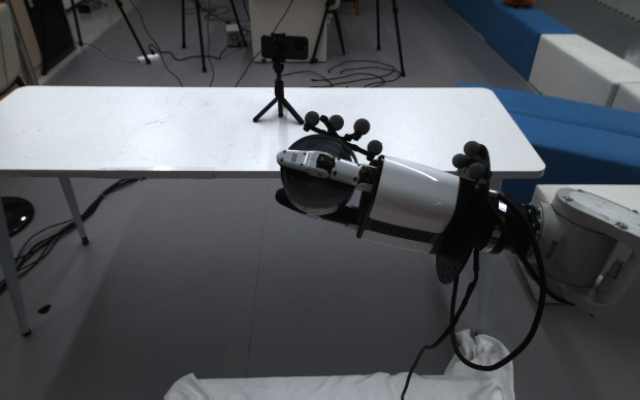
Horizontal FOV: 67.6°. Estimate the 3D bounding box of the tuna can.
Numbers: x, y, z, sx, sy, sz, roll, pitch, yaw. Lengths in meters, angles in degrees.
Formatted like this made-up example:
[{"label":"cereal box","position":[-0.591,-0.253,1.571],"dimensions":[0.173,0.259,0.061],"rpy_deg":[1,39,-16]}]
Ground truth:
[{"label":"tuna can","position":[0.001,-0.029,0.539],"dimensions":[0.085,0.034,0.085],"rpy_deg":[0,72,0]}]
